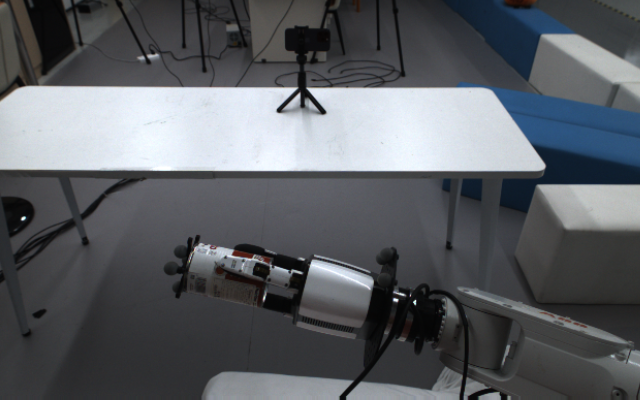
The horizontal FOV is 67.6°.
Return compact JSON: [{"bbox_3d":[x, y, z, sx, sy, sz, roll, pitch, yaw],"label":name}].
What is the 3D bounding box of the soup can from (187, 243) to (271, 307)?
[{"bbox_3d":[-0.114,0.099,0.629,0.101,0.067,0.067,12,35,-1],"label":"soup can"}]
